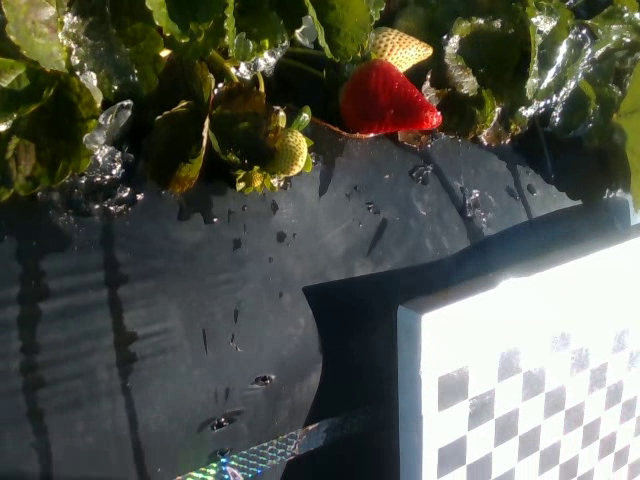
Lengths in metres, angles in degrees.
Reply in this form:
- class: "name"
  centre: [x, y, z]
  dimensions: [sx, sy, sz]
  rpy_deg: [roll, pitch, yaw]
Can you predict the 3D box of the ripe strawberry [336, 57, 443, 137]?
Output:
- class: "ripe strawberry"
  centre: [0.035, -0.064, 0.273]
  dimensions: [0.053, 0.040, 0.042]
  rpy_deg: [31, -18, 27]
